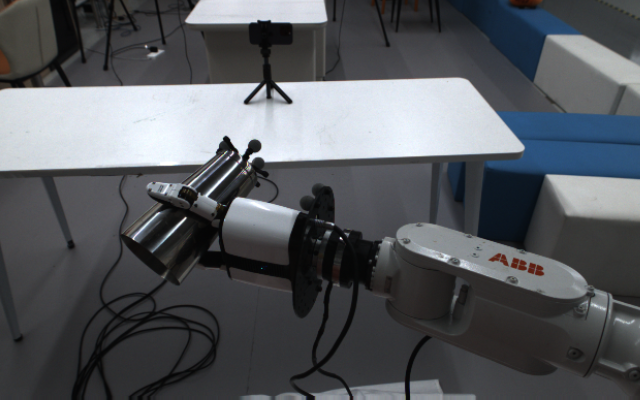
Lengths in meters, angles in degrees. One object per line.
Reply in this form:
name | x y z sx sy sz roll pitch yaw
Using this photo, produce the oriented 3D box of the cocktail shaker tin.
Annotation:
cocktail shaker tin | -0.158 0.008 0.618 0.093 0.093 0.170 23 57 27
